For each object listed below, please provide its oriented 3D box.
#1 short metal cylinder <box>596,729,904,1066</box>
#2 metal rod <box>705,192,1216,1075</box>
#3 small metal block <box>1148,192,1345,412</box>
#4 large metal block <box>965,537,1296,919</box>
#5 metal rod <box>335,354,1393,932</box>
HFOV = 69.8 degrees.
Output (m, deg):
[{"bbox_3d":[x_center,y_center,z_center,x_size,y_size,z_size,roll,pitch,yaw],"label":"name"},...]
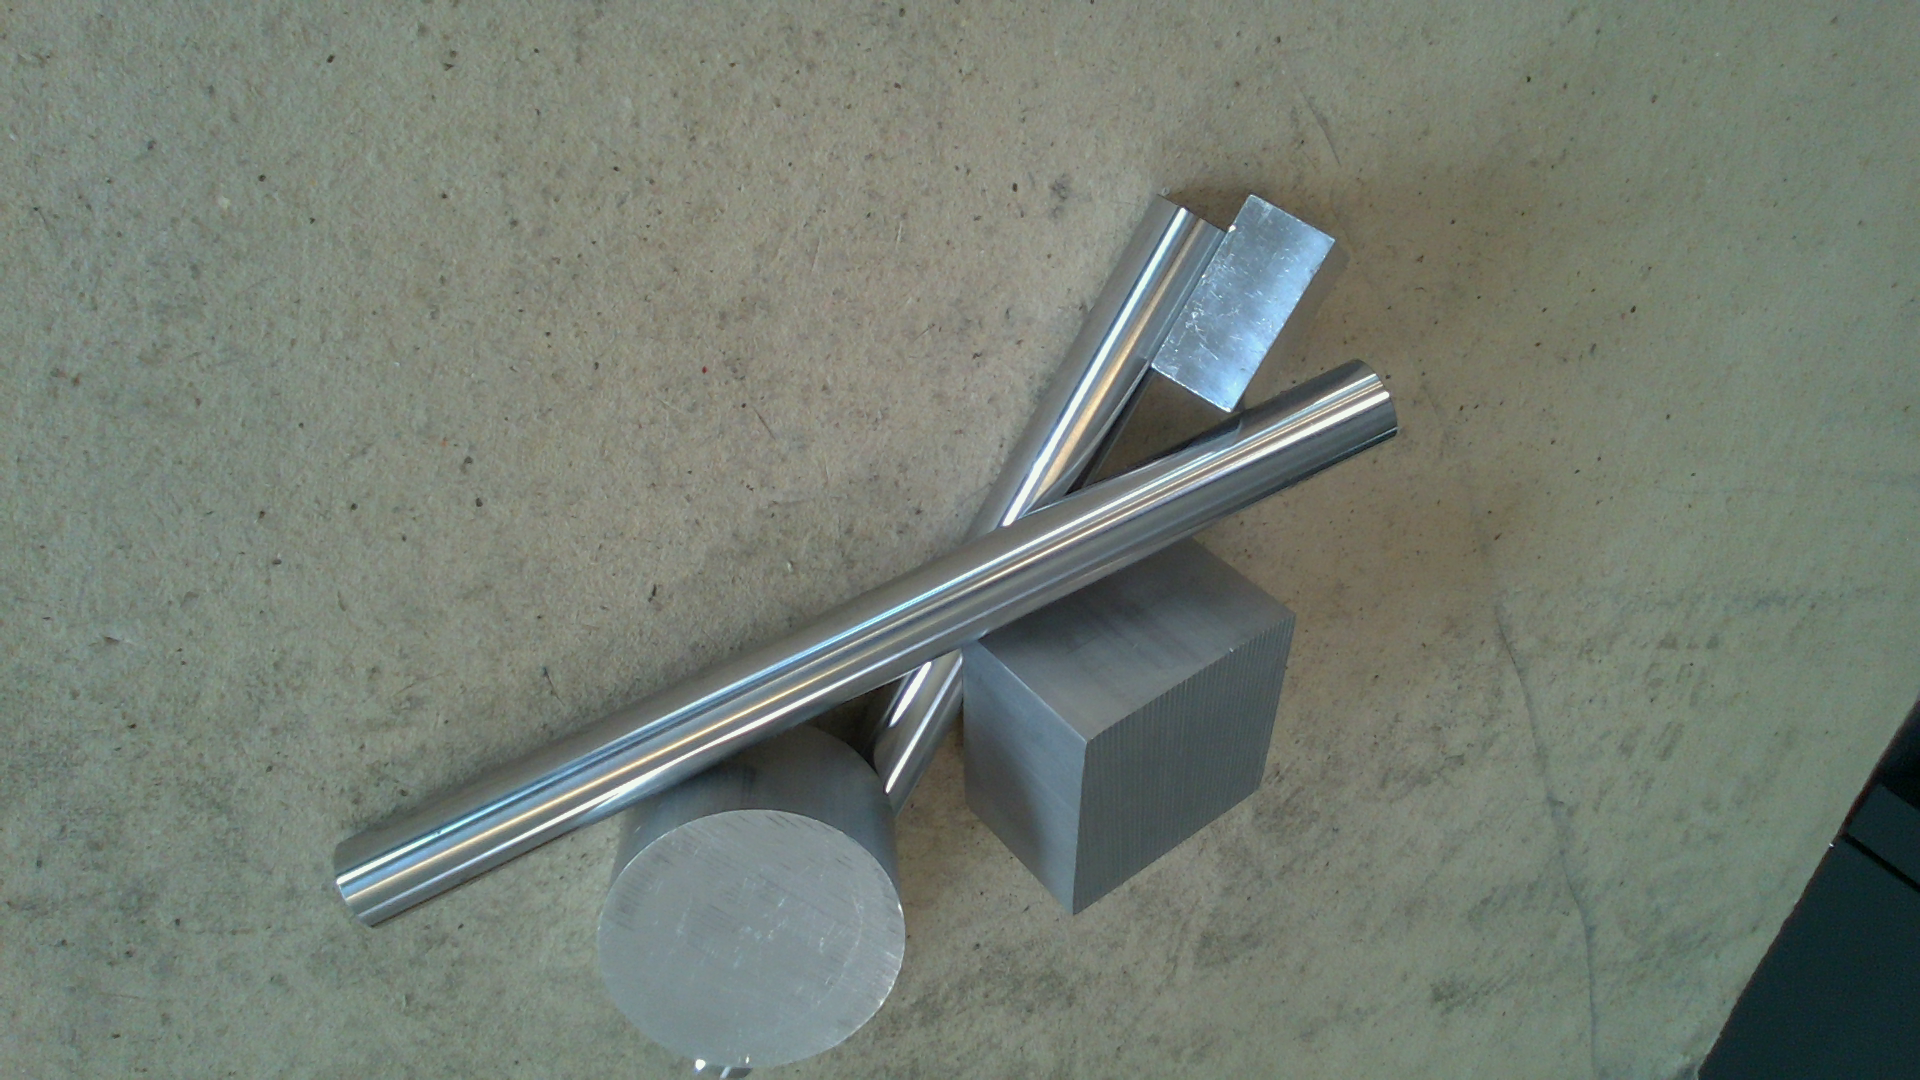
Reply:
[{"bbox_3d":[-0.057,0.098,0.386,0.080,0.050,0.080,-2,110,-6],"label":"short metal cylinder"},{"bbox_3d":[-0.007,0.039,0.408,0.025,0.025,0.300,18,109,-35],"label":"metal rod"},{"bbox_3d":[0.080,-0.064,0.377,0.050,0.025,0.050,-61,166,15],"label":"small metal block"},{"bbox_3d":[0.048,0.053,0.413,0.080,0.050,0.080,-27,138,-27],"label":"large metal block"},{"bbox_3d":[-0.022,0.026,0.371,0.300,0.025,0.025,-26,128,-4],"label":"metal rod"}]
